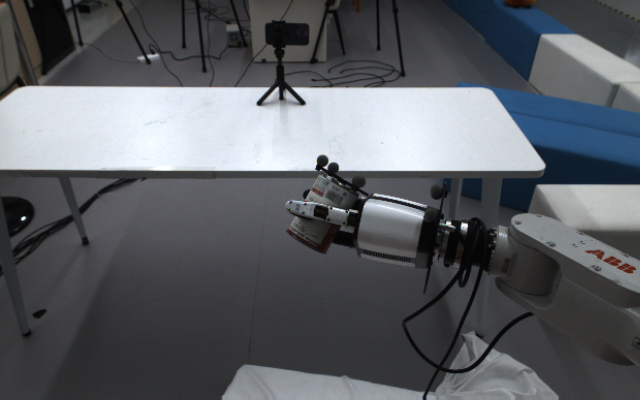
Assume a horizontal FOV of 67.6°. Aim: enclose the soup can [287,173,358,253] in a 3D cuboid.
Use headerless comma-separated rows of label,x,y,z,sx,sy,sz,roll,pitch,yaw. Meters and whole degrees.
soup can,0.005,0.019,0.713,0.067,0.101,0.067,30,2,-1
